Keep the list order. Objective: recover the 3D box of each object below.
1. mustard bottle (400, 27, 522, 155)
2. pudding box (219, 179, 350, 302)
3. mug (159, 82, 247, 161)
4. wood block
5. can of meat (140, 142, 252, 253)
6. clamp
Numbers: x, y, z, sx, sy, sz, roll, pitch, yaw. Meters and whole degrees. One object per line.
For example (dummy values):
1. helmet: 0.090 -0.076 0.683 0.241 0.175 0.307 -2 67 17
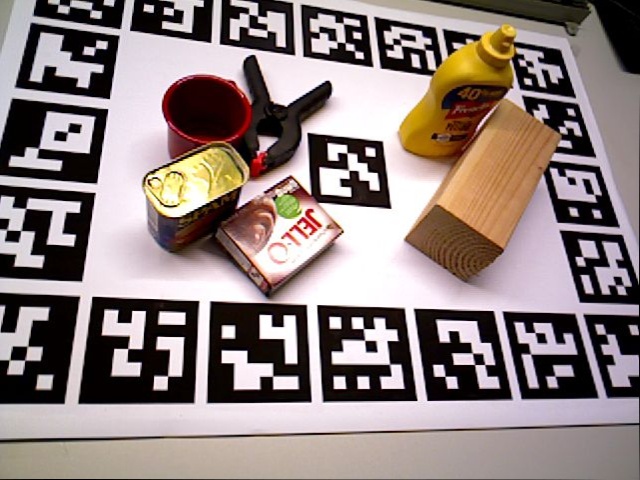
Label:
1. mustard bottle: 0.173 -0.176 0.634 0.095 0.195 0.058 -1 65 -17
2. pudding box: -0.038 -0.001 0.580 0.111 0.039 0.090 -37 80 -29
3. mug: -0.129 -0.123 0.613 0.093 0.083 0.115 23 62 -4
4. wood block: 0.204 -0.055 0.650 0.090 0.093 0.202 35 58 5
5. can of meat: -0.125 -0.039 0.541 0.100 0.085 0.057 -27 76 -26
6. clamp: -0.054 -0.151 0.654 0.121 0.037 0.162 21 63 -7
